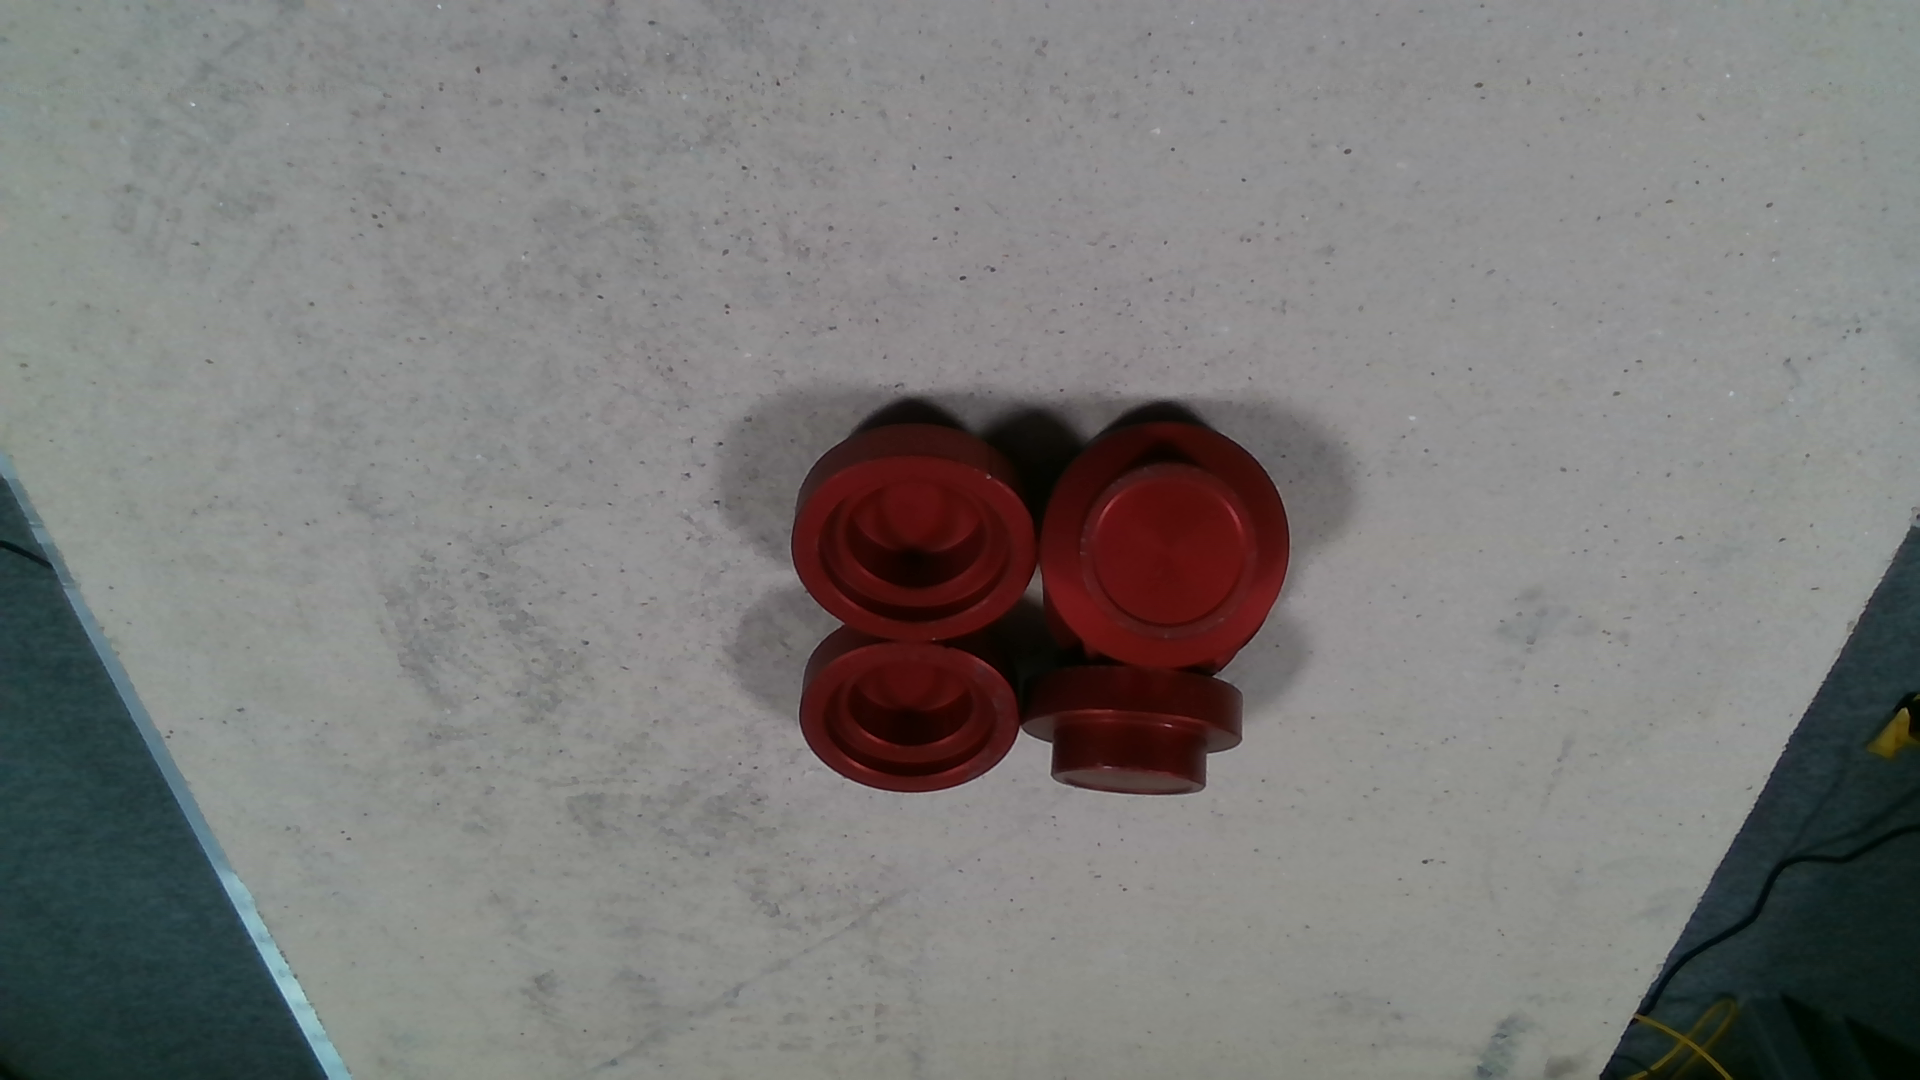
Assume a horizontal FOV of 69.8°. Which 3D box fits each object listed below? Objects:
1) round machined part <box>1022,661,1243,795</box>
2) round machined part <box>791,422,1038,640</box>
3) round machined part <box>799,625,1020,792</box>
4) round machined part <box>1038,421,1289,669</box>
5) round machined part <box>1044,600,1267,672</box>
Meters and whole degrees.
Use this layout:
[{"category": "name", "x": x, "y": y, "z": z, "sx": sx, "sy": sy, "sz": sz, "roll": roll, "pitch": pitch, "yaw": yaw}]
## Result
[{"category": "round machined part", "x": 0.076, "y": 0.087, "z": 0.613, "sx": 0.098, "sy": 0.042, "sz": 0.098, "roll": 5, "pitch": 161, "yaw": 2}, {"category": "round machined part", "x": -0.018, "y": -0.008, "z": 0.561, "sx": 0.098, "sy": 0.042, "sz": 0.098, "roll": 0, "pitch": 130, "yaw": 0}, {"category": "round machined part", "x": -0.022, "y": 0.067, "z": 0.624, "sx": 0.098, "sy": 0.042, "sz": 0.098, "roll": 0, "pitch": 130, "yaw": 0}, {"category": "round machined part", "x": 0.080, "y": 0.003, "z": 0.540, "sx": 0.098, "sy": 0.042, "sz": 0.098, "roll": 0, "pitch": 97, "yaw": 3}, {"category": "round machined part", "x": 0.085, "y": 0.027, "z": 0.590, "sx": 0.098, "sy": 0.042, "sz": 0.098, "roll": 0, "pitch": 130, "yaw": 0}]
